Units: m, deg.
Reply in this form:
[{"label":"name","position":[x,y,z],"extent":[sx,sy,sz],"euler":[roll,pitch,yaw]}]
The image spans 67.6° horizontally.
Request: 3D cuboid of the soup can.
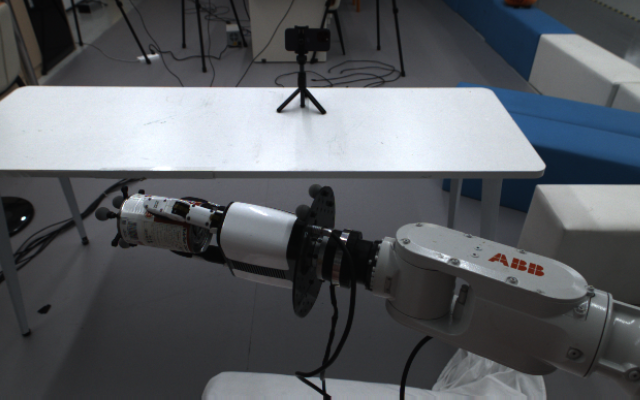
[{"label":"soup can","position":[-0.195,0.032,0.624],"extent":[0.101,0.067,0.067],"euler":[7,35,10]}]
